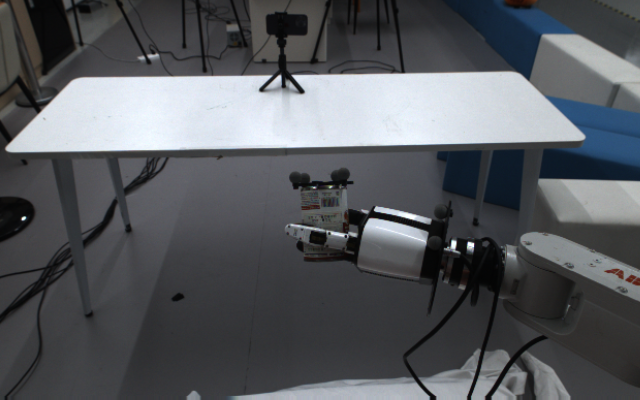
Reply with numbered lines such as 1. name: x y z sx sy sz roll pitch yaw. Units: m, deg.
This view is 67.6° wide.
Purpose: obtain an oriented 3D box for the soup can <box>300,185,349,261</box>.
1. soup can: 0.009 0.033 0.676 0.067 0.101 0.067 -3 -1 0
